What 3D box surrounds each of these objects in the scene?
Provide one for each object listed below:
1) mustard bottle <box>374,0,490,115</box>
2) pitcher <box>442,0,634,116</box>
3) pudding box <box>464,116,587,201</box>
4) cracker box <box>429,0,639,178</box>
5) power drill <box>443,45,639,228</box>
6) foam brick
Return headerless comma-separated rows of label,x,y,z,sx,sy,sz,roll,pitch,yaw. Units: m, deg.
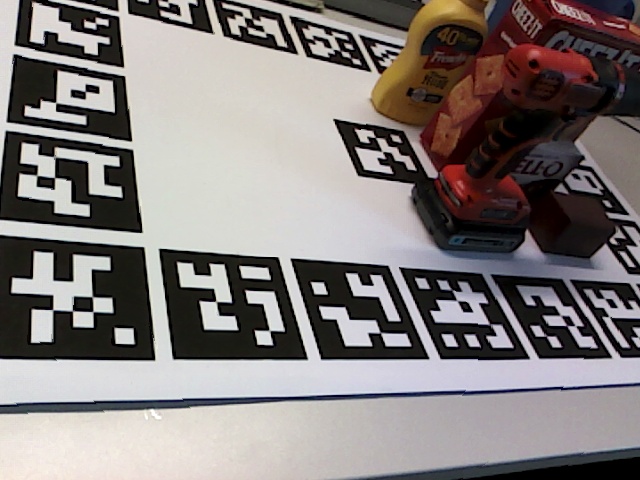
mustard bottle,0.147,-0.243,0.744,0.096,0.191,0.058,15,45,-17
pitcher,0.269,-0.241,0.795,0.188,0.243,0.134,8,46,-21
pudding box,0.235,-0.093,0.718,0.113,0.090,0.039,3,47,-24
cracker box,0.251,-0.164,0.716,0.163,0.214,0.072,1,47,-26
power drill,0.222,-0.095,0.607,0.183,0.187,0.057,4,44,-28
foam brick,0.289,-0.019,0.726,0.077,0.051,0.053,7,48,-25
